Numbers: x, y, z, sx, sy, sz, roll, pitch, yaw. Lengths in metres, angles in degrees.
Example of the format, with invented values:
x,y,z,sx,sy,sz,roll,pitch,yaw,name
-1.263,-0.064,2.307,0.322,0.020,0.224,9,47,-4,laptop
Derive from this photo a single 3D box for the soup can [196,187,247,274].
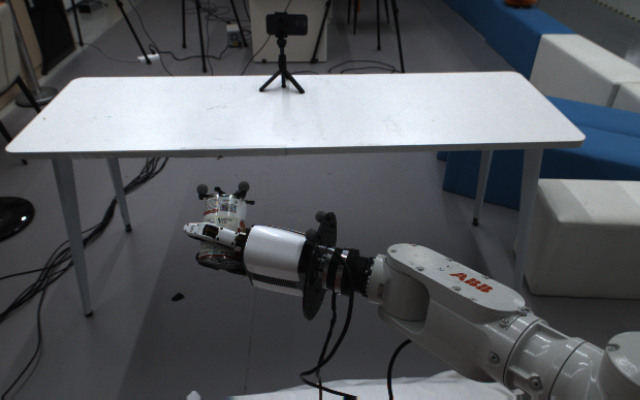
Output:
x,y,z,sx,sy,sz,roll,pitch,yaw,name
-0.148,0.050,0.742,0.067,0.067,0.101,1,68,-1,soup can
